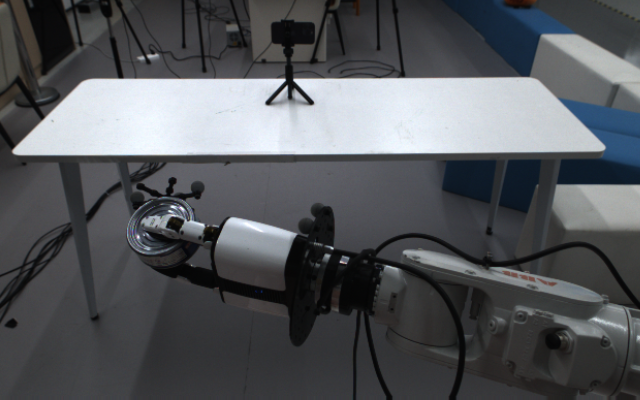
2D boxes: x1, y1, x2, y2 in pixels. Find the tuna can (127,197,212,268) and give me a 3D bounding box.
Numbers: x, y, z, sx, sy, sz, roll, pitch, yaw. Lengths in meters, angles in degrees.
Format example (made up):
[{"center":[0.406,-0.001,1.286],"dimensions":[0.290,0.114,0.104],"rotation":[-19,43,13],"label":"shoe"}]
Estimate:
[{"center":[-0.186,0.045,0.590],"dimensions":[0.085,0.034,0.085],"rotation":[-3,60,5],"label":"tuna can"}]
